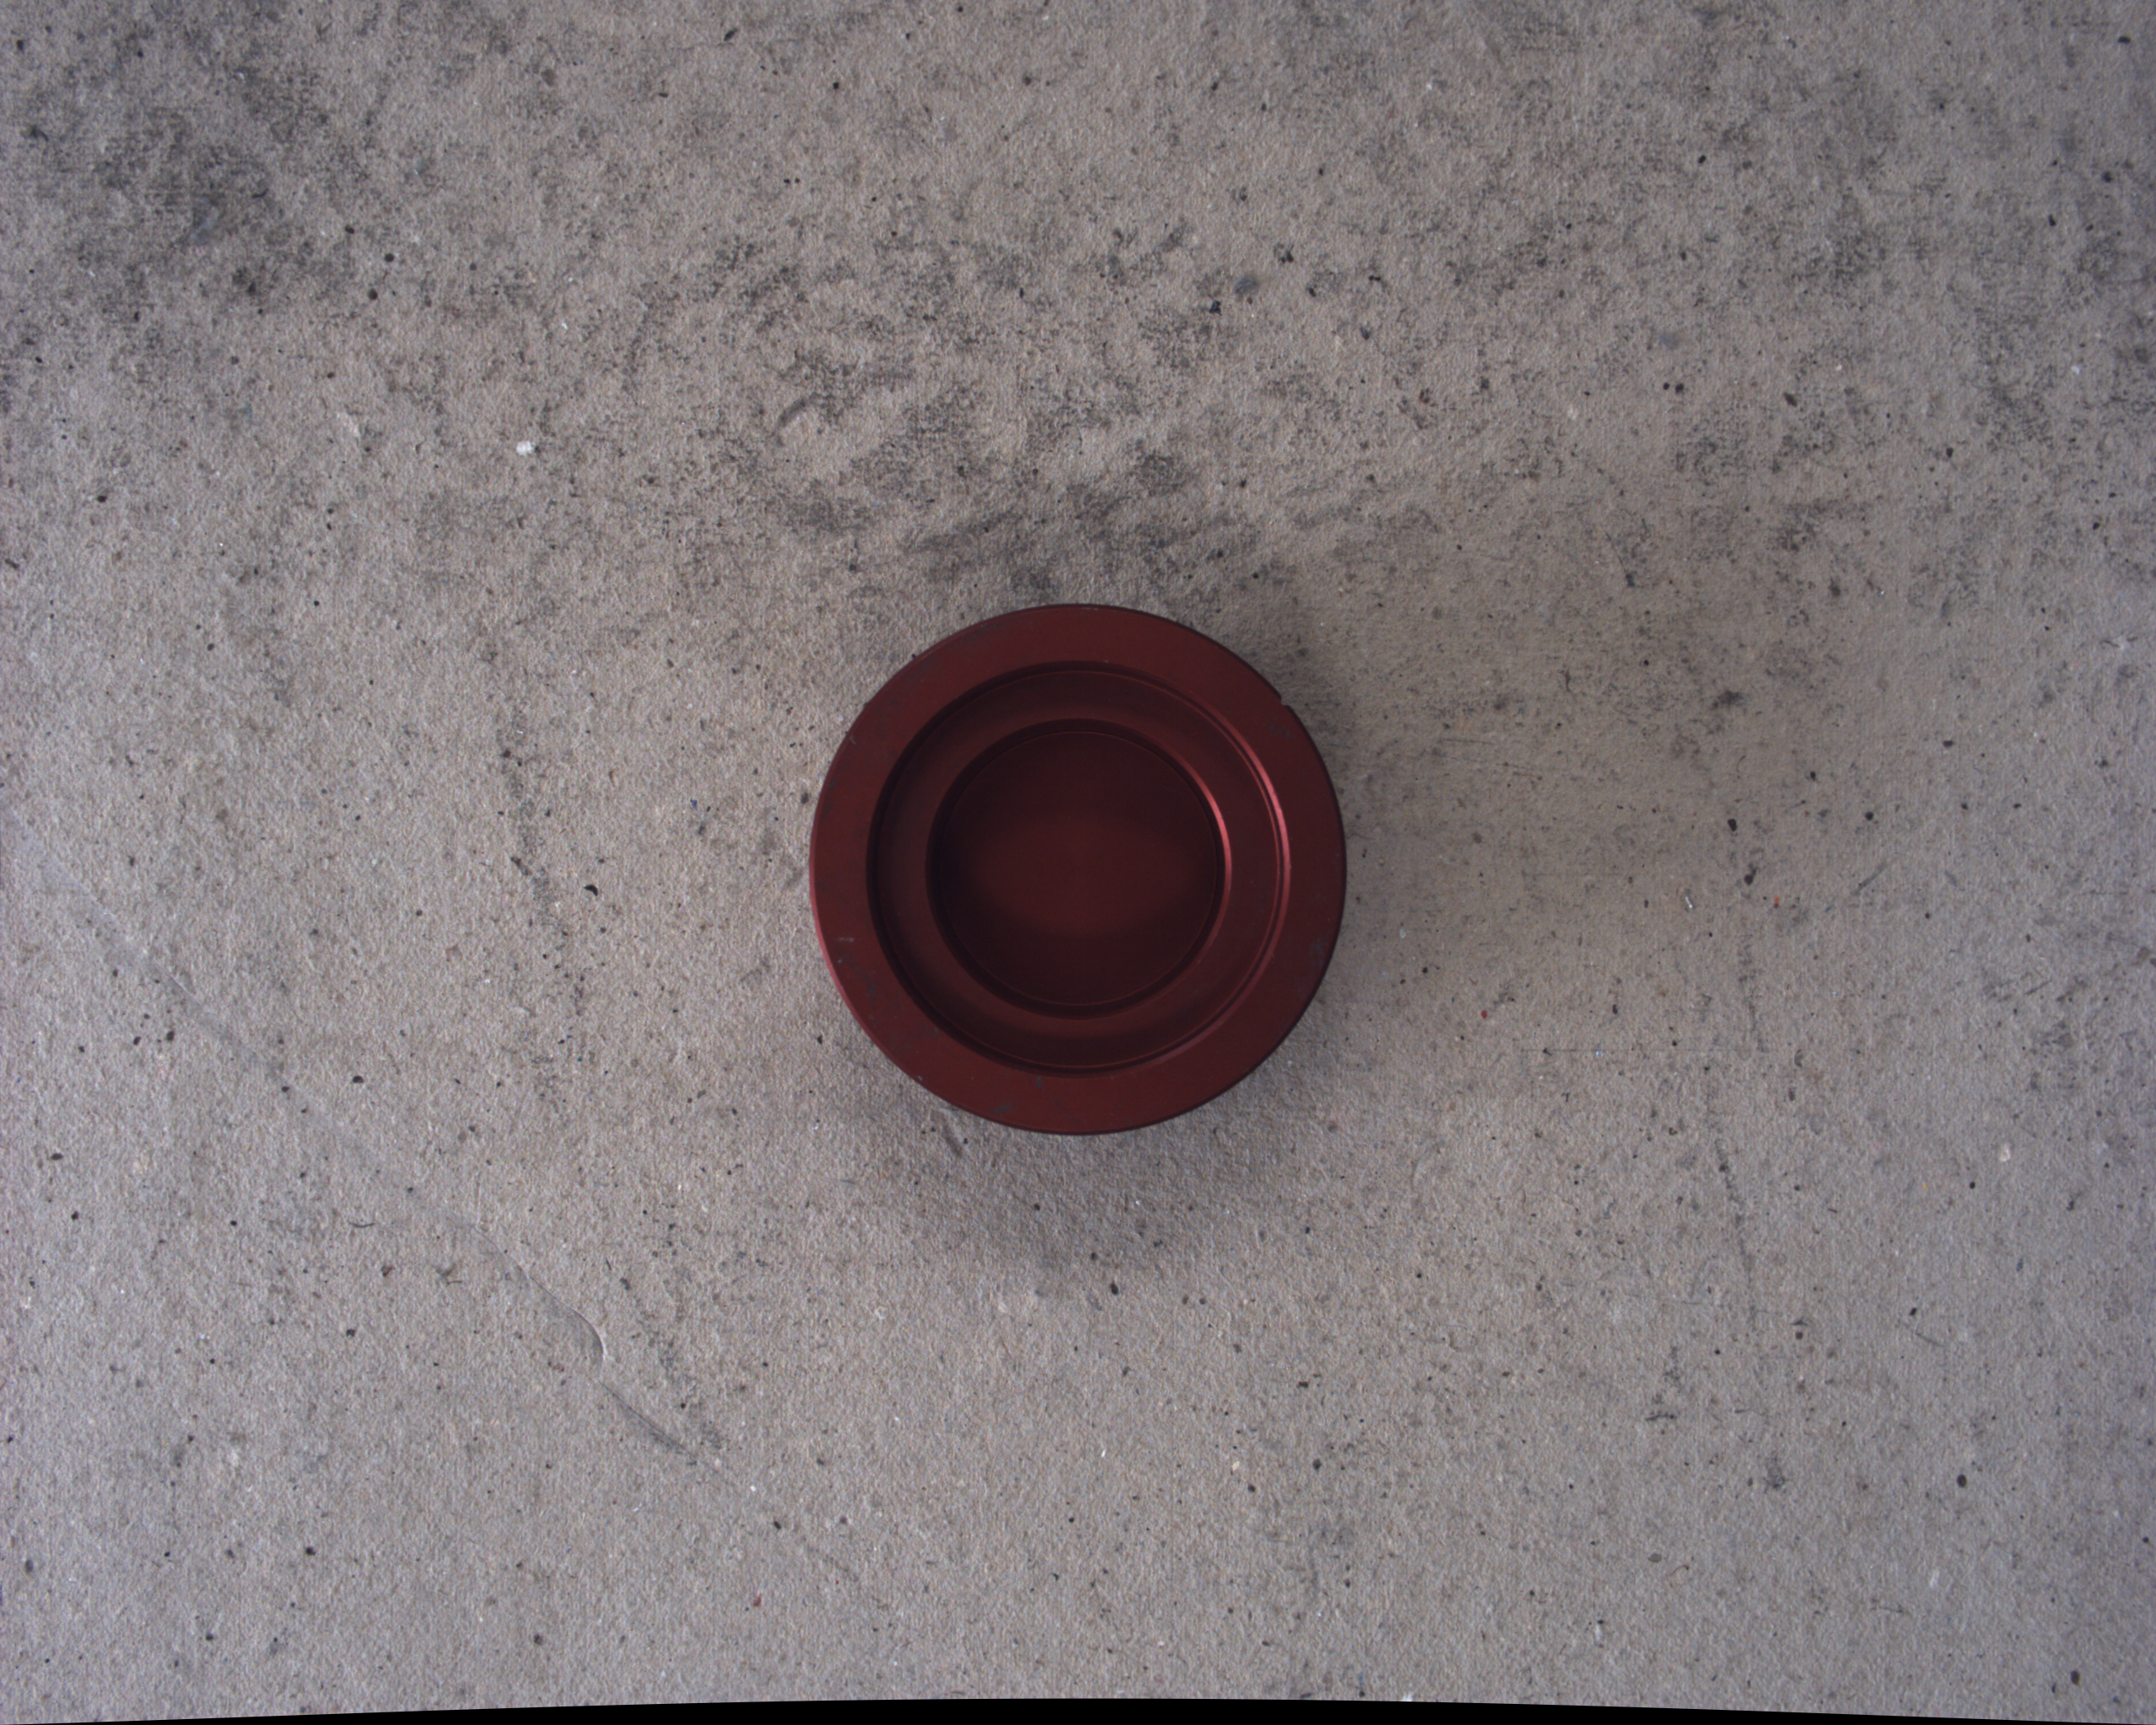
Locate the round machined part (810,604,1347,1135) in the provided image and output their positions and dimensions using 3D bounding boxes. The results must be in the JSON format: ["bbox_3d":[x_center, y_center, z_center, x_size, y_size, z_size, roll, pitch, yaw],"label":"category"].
[{"bbox_3d":[0.000,0.001,0.403,0.099,0.042,0.097,0,90,0],"label":"round machined part"}]
